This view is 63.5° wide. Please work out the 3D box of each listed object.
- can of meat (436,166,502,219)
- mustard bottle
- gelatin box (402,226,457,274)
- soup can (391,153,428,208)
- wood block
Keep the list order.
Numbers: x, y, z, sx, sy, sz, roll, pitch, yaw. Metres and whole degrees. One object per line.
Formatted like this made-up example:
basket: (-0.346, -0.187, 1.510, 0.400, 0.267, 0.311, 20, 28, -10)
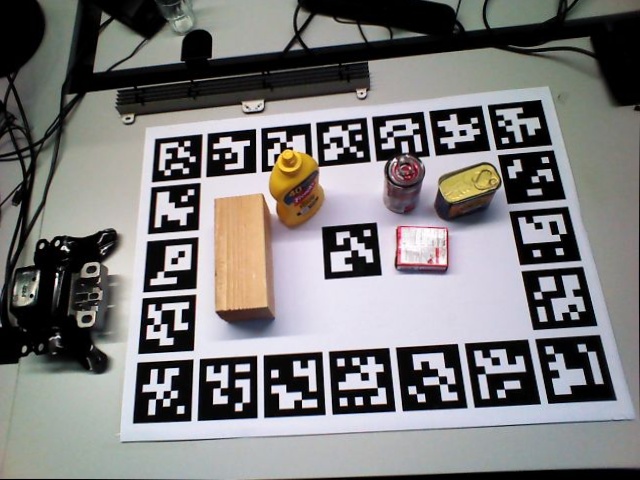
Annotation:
can of meat: (0.257, -0.085, 0.897, 0.102, 0.084, 0.057, -17, 69, -3)
mustard bottle: (-0.039, -0.092, 0.880, 0.096, 0.192, 0.058, -29, 68, -7)
gelatin box: (0.188, 0.017, 0.889, 0.090, 0.030, 0.073, 4, 71, 11)
soup can: (0.157, -0.104, 0.896, 0.068, 0.102, 0.067, -2, 70, 6)
wood block: (-0.126, 0.031, 0.893, 0.091, 0.090, 0.205, -4, 65, 3)
